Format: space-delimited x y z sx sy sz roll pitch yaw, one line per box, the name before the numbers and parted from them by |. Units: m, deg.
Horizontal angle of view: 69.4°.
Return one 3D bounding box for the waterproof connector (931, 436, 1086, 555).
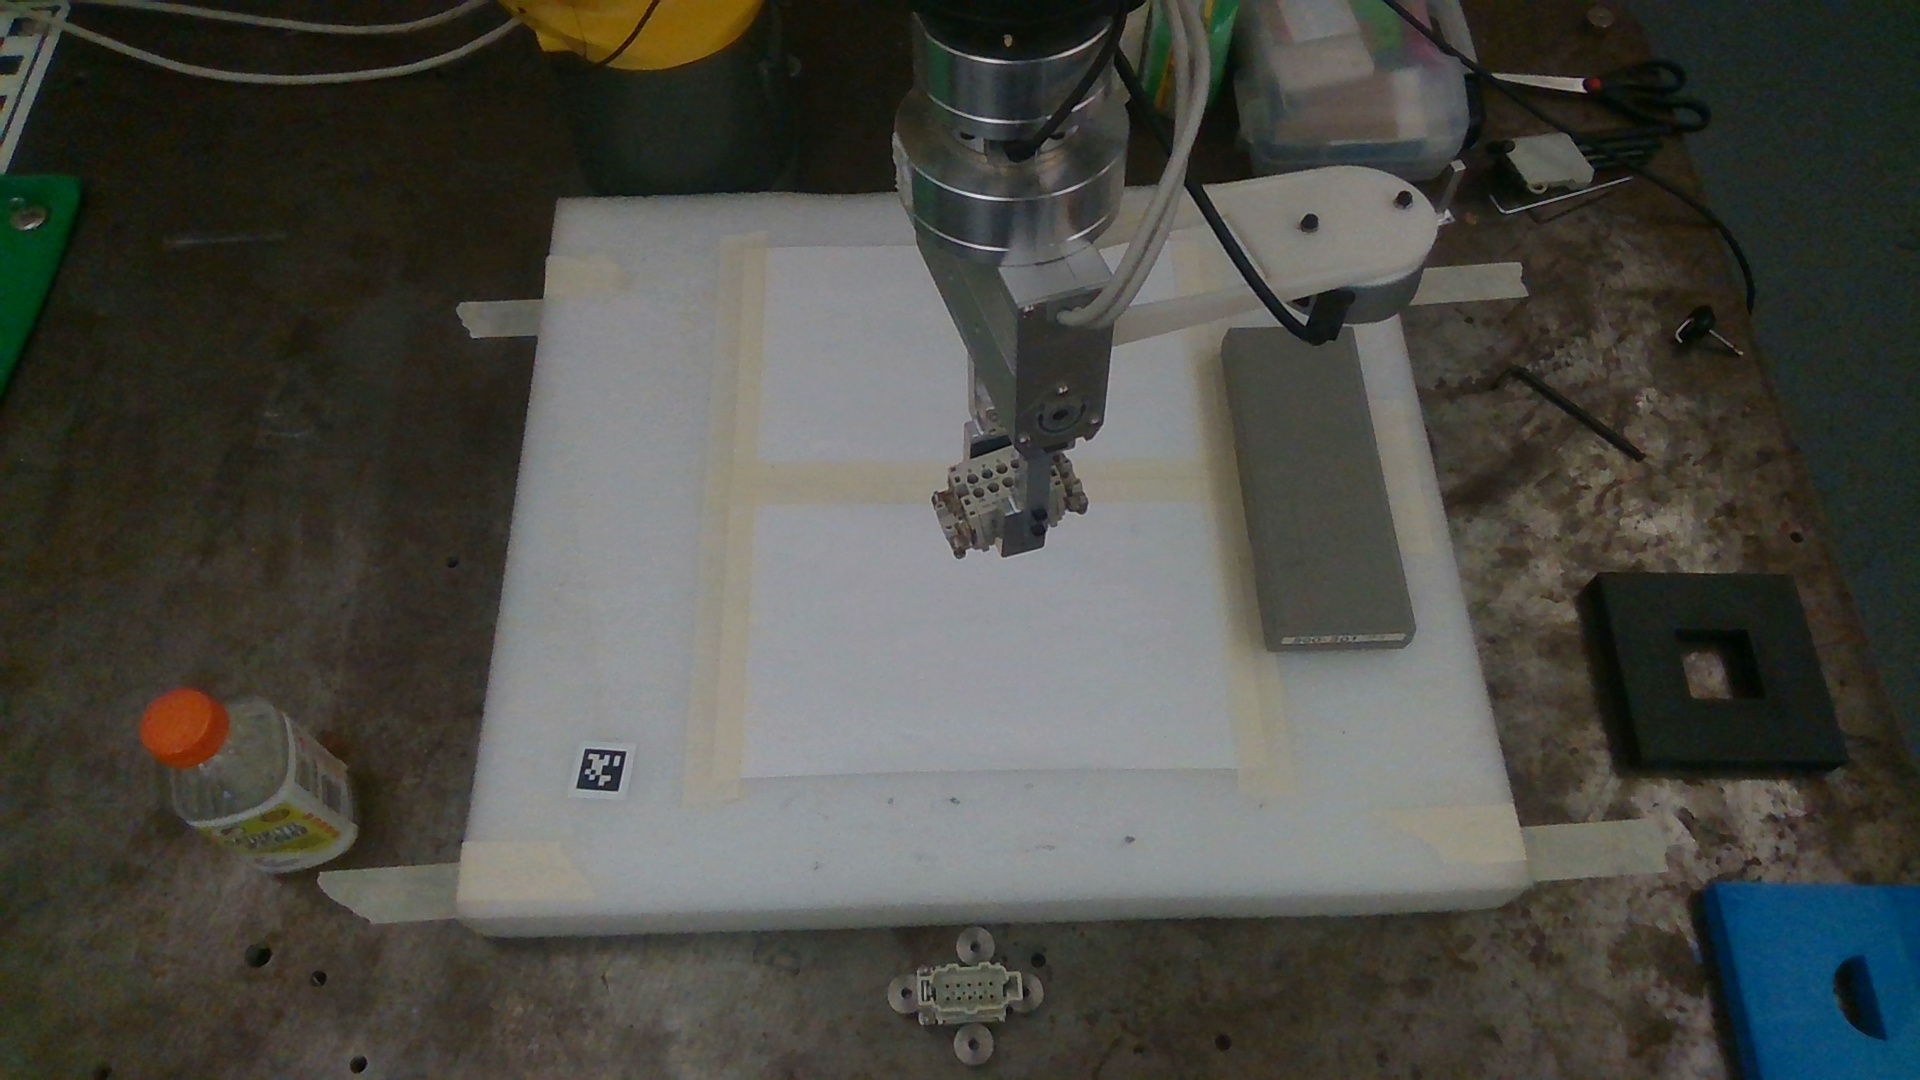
waterproof connector | 0.022 -0.018 0.638 0.069 0.038 0.037 -20 57 0
